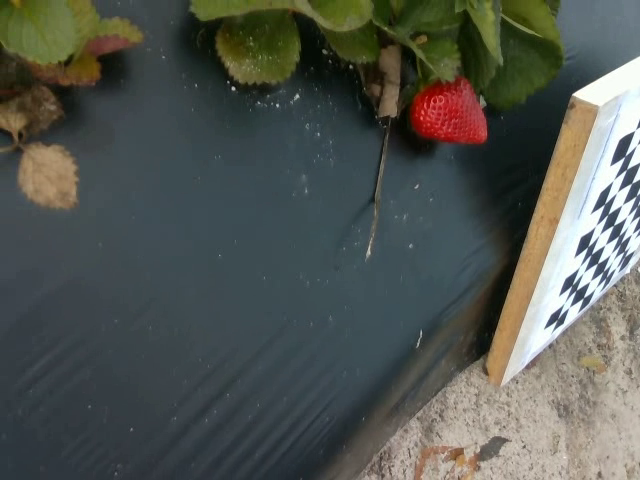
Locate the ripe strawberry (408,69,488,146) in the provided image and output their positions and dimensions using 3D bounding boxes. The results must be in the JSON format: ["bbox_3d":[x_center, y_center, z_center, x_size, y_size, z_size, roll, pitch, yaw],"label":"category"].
[{"bbox_3d":[0.064,-0.060,0.298,0.046,0.037,0.037,38,8,-6],"label":"ripe strawberry"}]
